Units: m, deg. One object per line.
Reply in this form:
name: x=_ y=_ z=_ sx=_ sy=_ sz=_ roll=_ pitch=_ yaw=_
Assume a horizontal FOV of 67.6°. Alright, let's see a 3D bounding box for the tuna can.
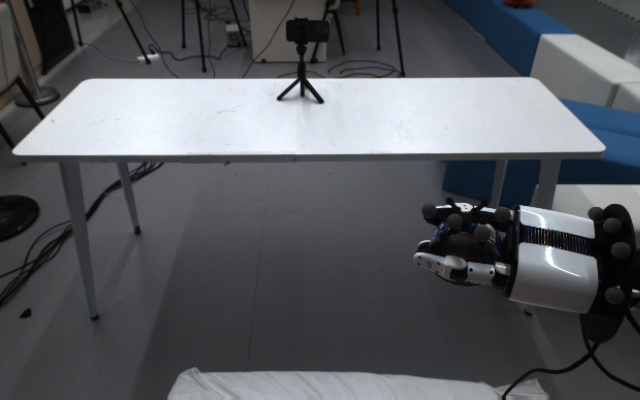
tuna can: x=0.177 y=0.060 z=0.583 sx=0.085 sy=0.085 sz=0.034 roll=12 pitch=39 yaw=14
